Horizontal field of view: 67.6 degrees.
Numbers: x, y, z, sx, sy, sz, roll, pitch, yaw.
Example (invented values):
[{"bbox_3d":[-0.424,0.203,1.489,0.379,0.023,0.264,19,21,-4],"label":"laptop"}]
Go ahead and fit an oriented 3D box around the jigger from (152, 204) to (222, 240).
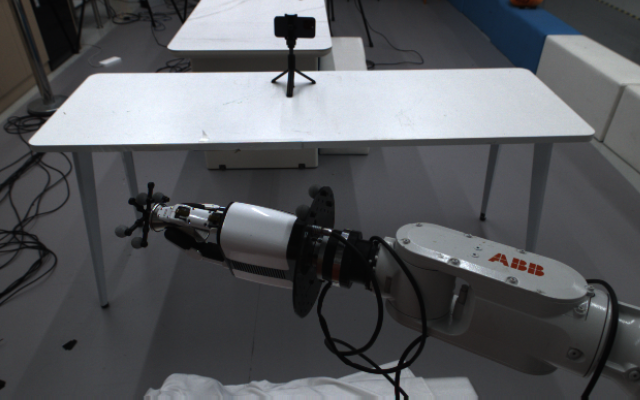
[{"bbox_3d":[-0.176,0.025,0.630,0.071,0.043,0.043,10,35,16],"label":"jigger"}]
